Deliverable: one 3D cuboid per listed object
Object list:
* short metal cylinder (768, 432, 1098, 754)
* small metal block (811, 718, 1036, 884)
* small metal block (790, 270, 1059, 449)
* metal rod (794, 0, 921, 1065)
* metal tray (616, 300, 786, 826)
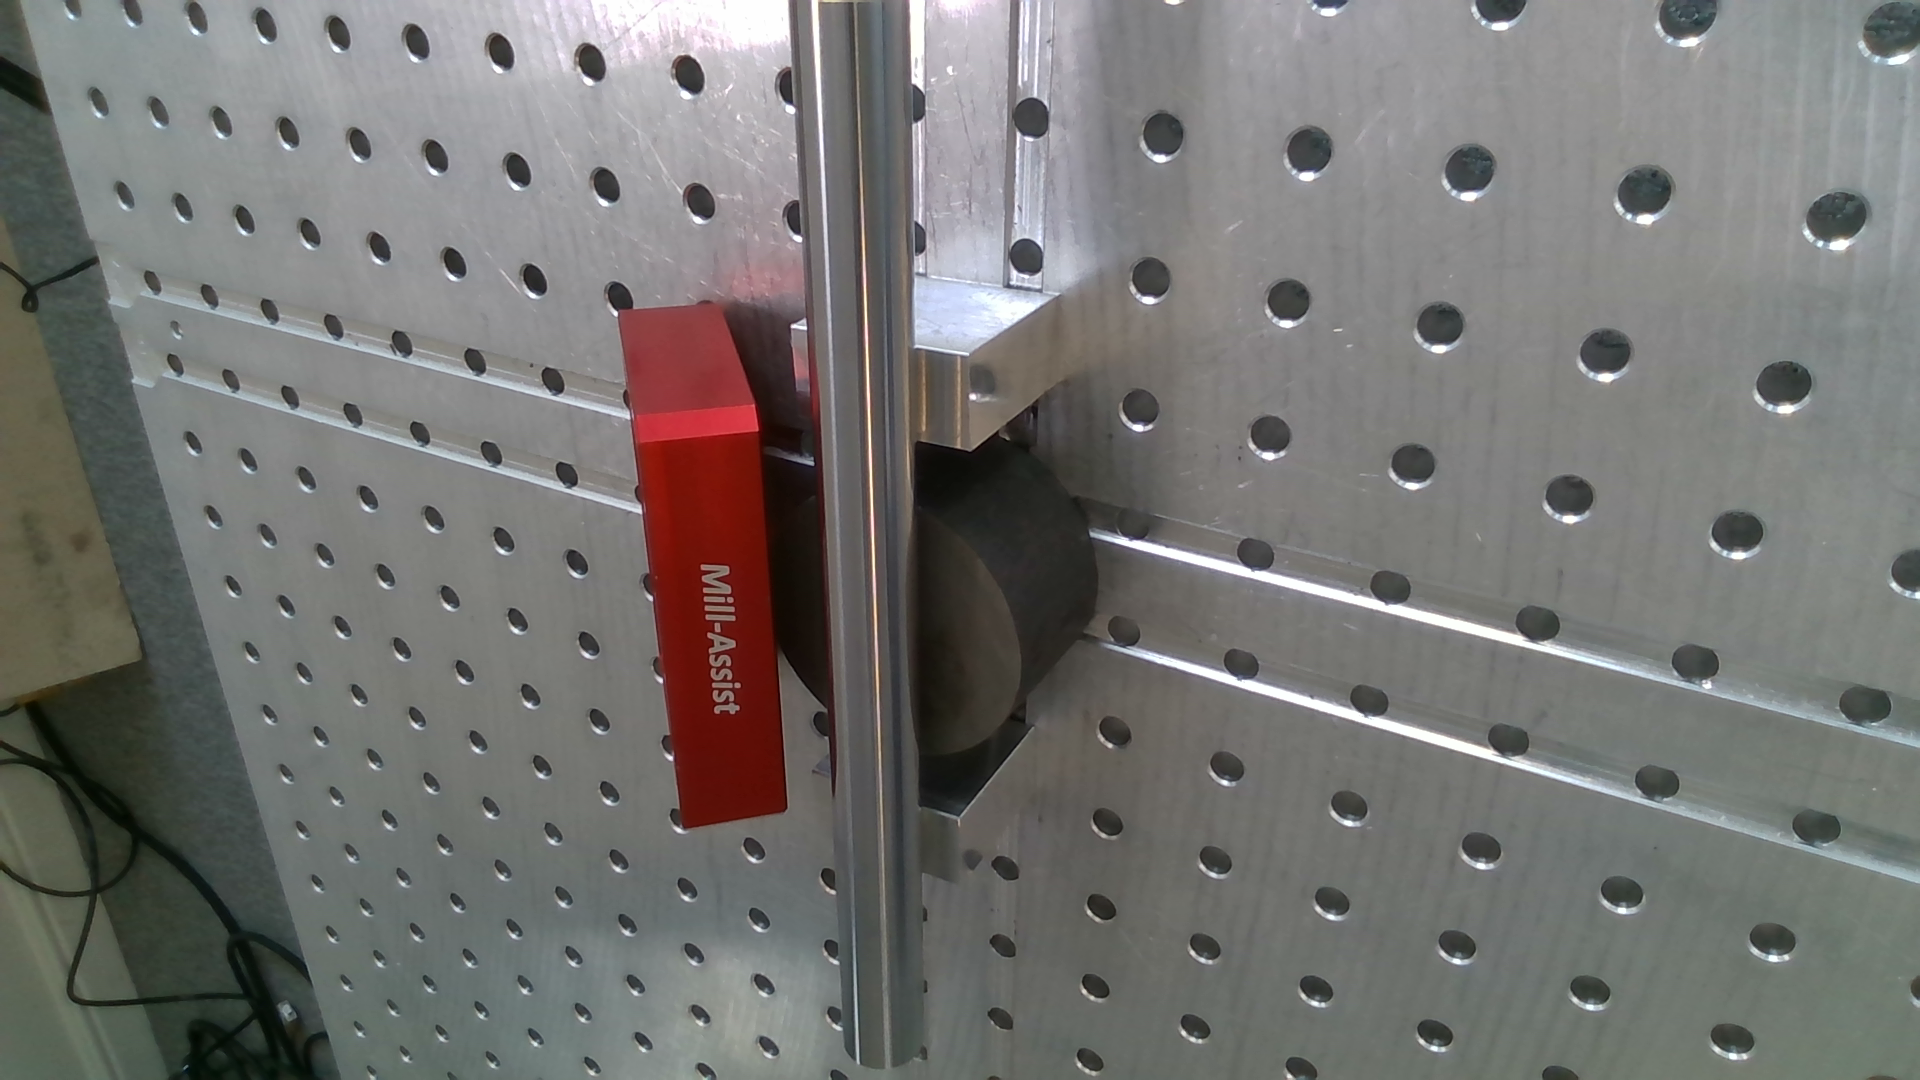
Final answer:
[{"bbox_3d":[-0.008,0.013,0.388,0.080,0.050,0.080,15,122,25],"label":"short metal cylinder"},{"bbox_3d":[-0.010,0.073,0.422,0.050,0.050,0.025,14,121,25],"label":"small metal block"},{"bbox_3d":[-0.008,-0.049,0.354,0.050,0.050,0.025,14,121,25],"label":"small metal block"},{"bbox_3d":[-0.023,0.020,0.352,0.025,0.025,0.301,15,122,24],"label":"metal rod"},{"bbox_3d":[-0.076,0.006,0.403,0.030,0.090,0.130,-7,120,-13],"label":"metal tray"}]
